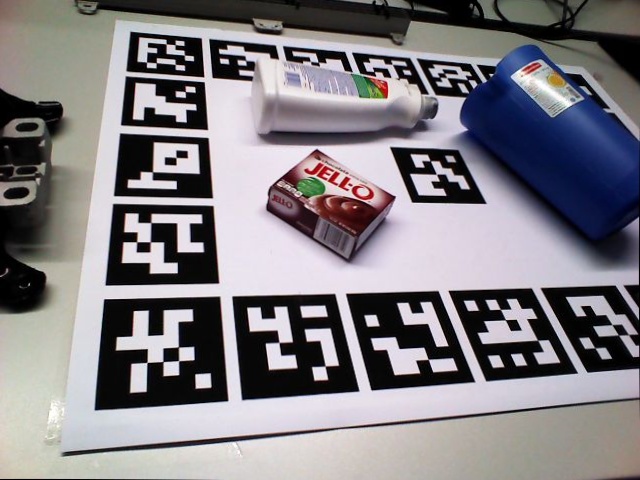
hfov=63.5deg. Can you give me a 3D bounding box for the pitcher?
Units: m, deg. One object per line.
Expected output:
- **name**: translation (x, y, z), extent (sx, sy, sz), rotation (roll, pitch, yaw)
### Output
- **pitcher**: translation (0.320, -0.103, 0.660), extent (0.188, 0.134, 0.242), rotation (7, 44, -57)

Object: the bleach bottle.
- **bleach bottle**: translation (0.048, -0.176, 0.672), extent (0.250, 0.068, 0.102), rotation (-1, 55, -18)

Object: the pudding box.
- **pudding box**: translation (0.017, -0.038, 0.556), extent (0.114, 0.039, 0.089), rotation (36, 45, 14)
